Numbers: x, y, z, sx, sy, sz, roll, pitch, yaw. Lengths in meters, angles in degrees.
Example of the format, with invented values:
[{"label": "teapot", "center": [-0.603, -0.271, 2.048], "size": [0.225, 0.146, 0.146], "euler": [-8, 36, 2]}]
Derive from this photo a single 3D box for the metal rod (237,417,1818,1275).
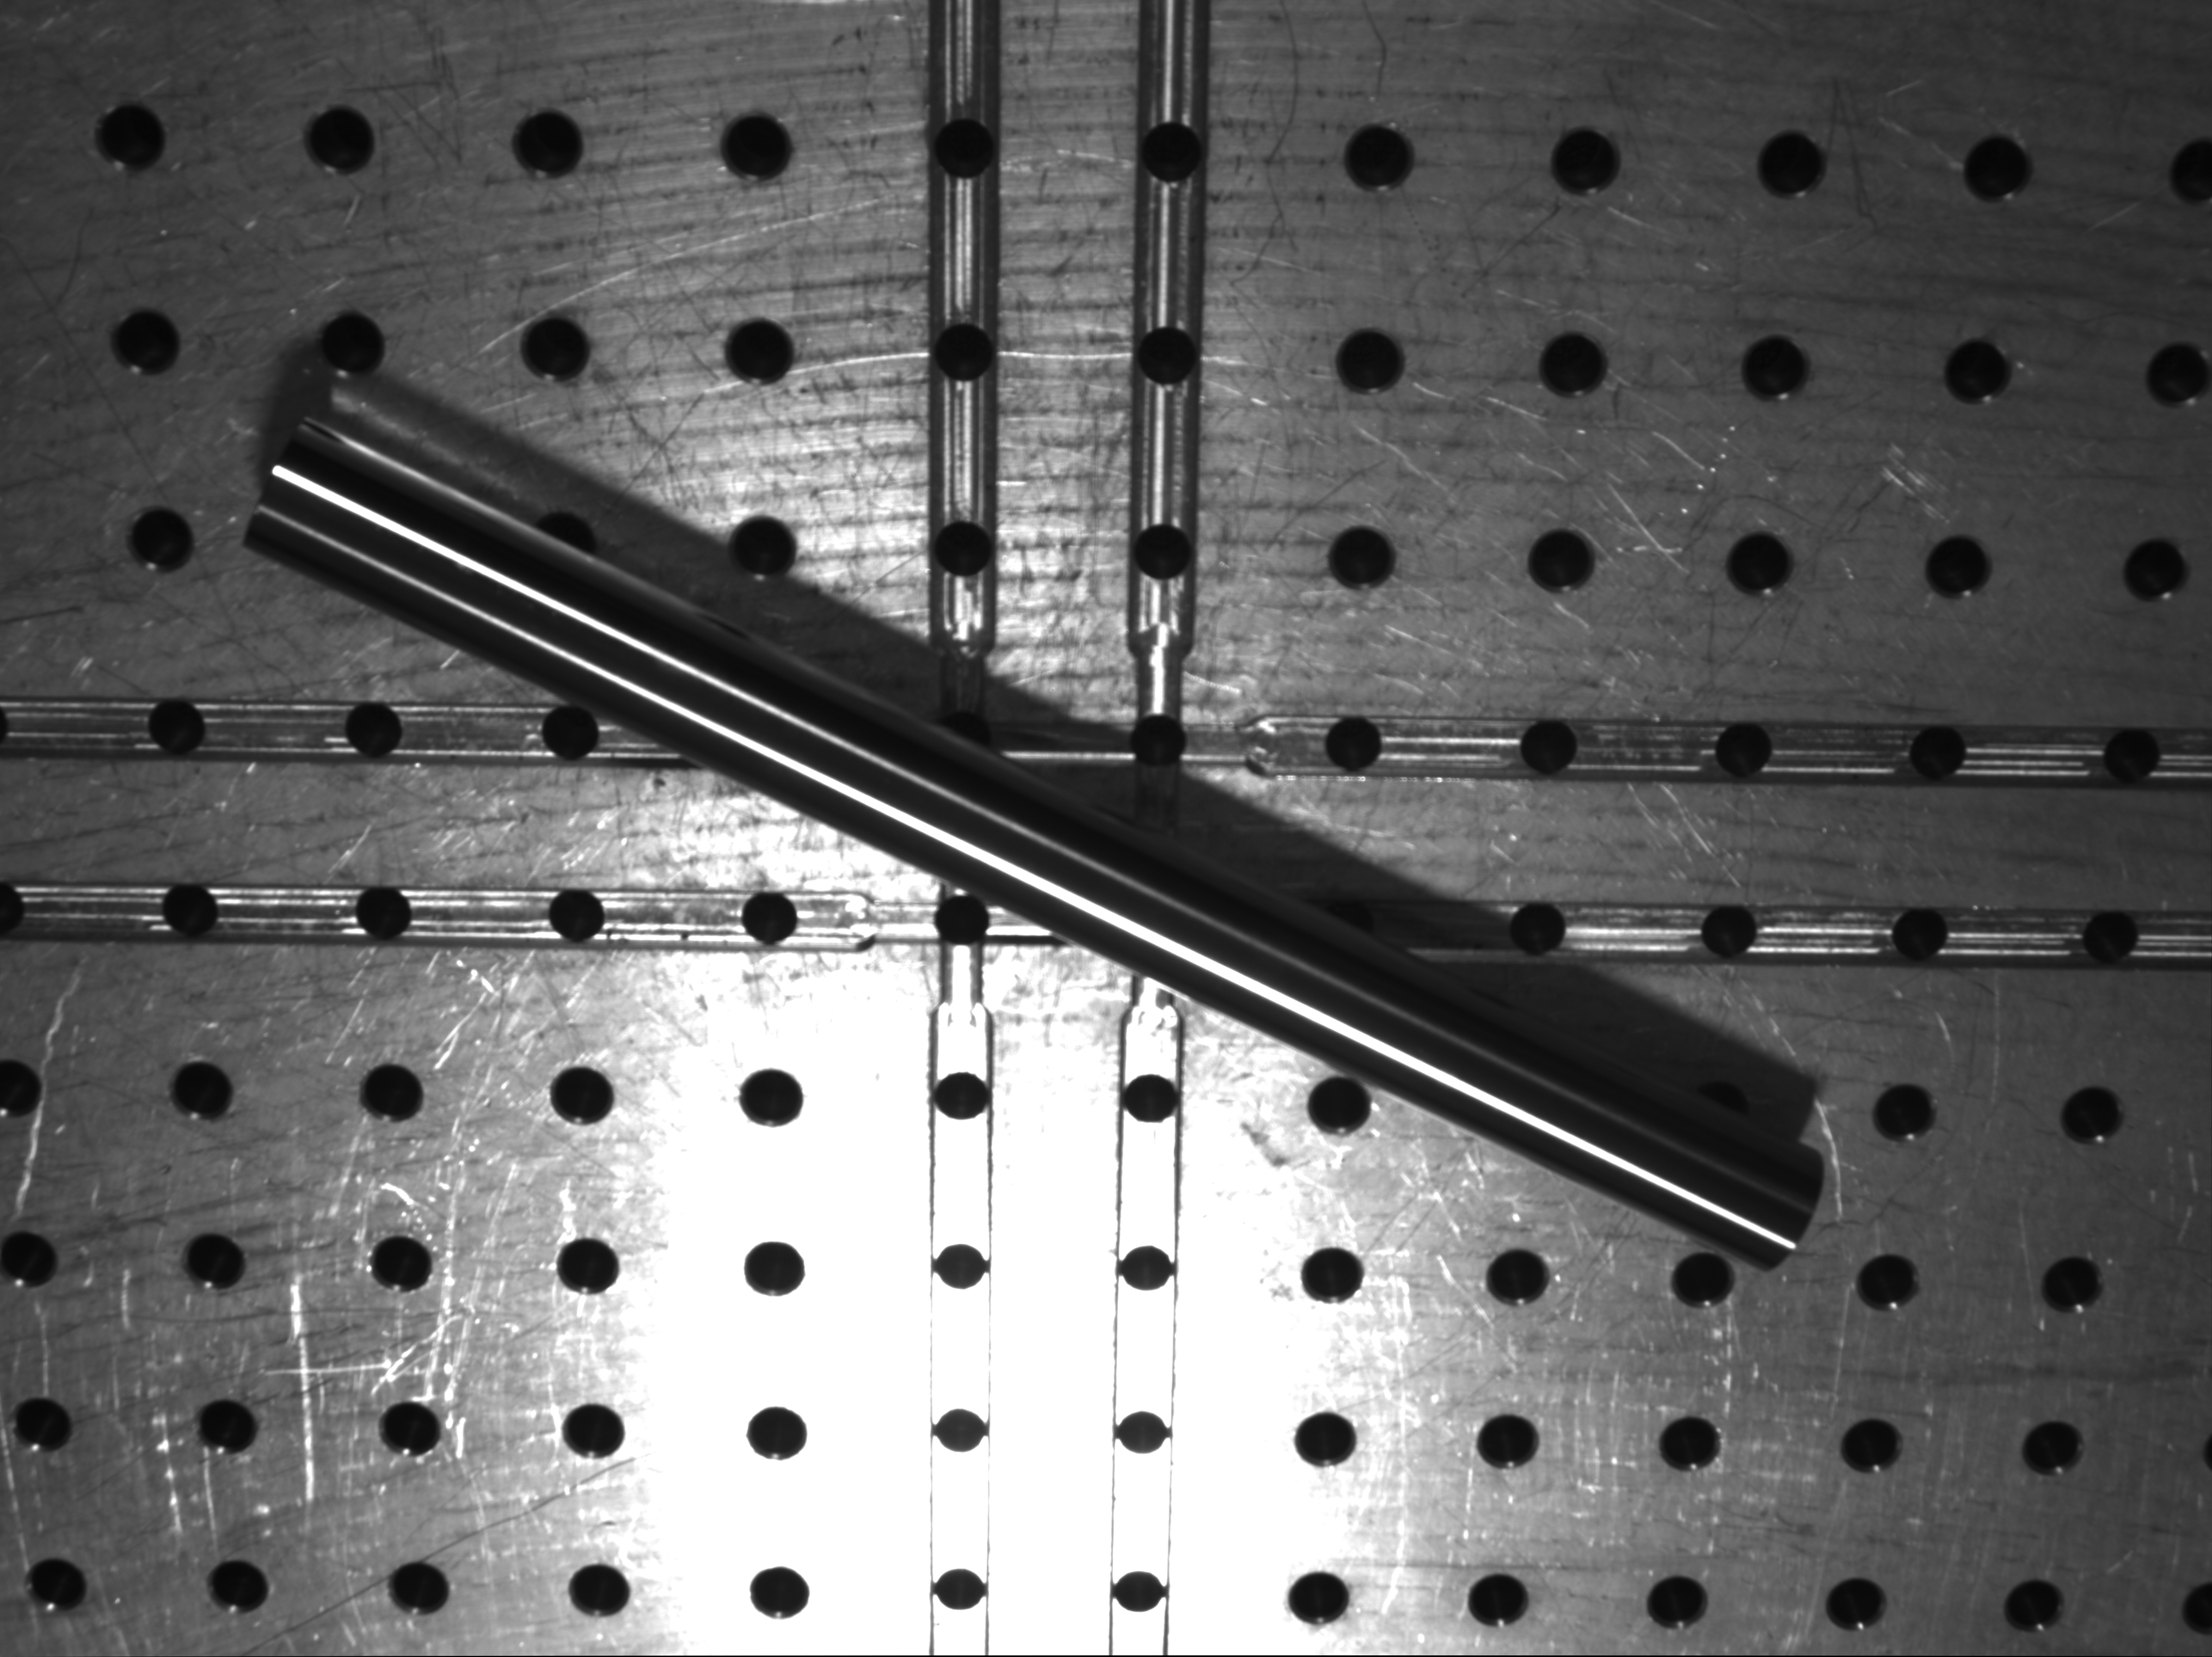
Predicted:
[{"label": "metal rod", "center": [-0.009, 0.006, 0.648], "size": [0.300, 0.025, 0.025], "euler": [26, 108, -10]}]
